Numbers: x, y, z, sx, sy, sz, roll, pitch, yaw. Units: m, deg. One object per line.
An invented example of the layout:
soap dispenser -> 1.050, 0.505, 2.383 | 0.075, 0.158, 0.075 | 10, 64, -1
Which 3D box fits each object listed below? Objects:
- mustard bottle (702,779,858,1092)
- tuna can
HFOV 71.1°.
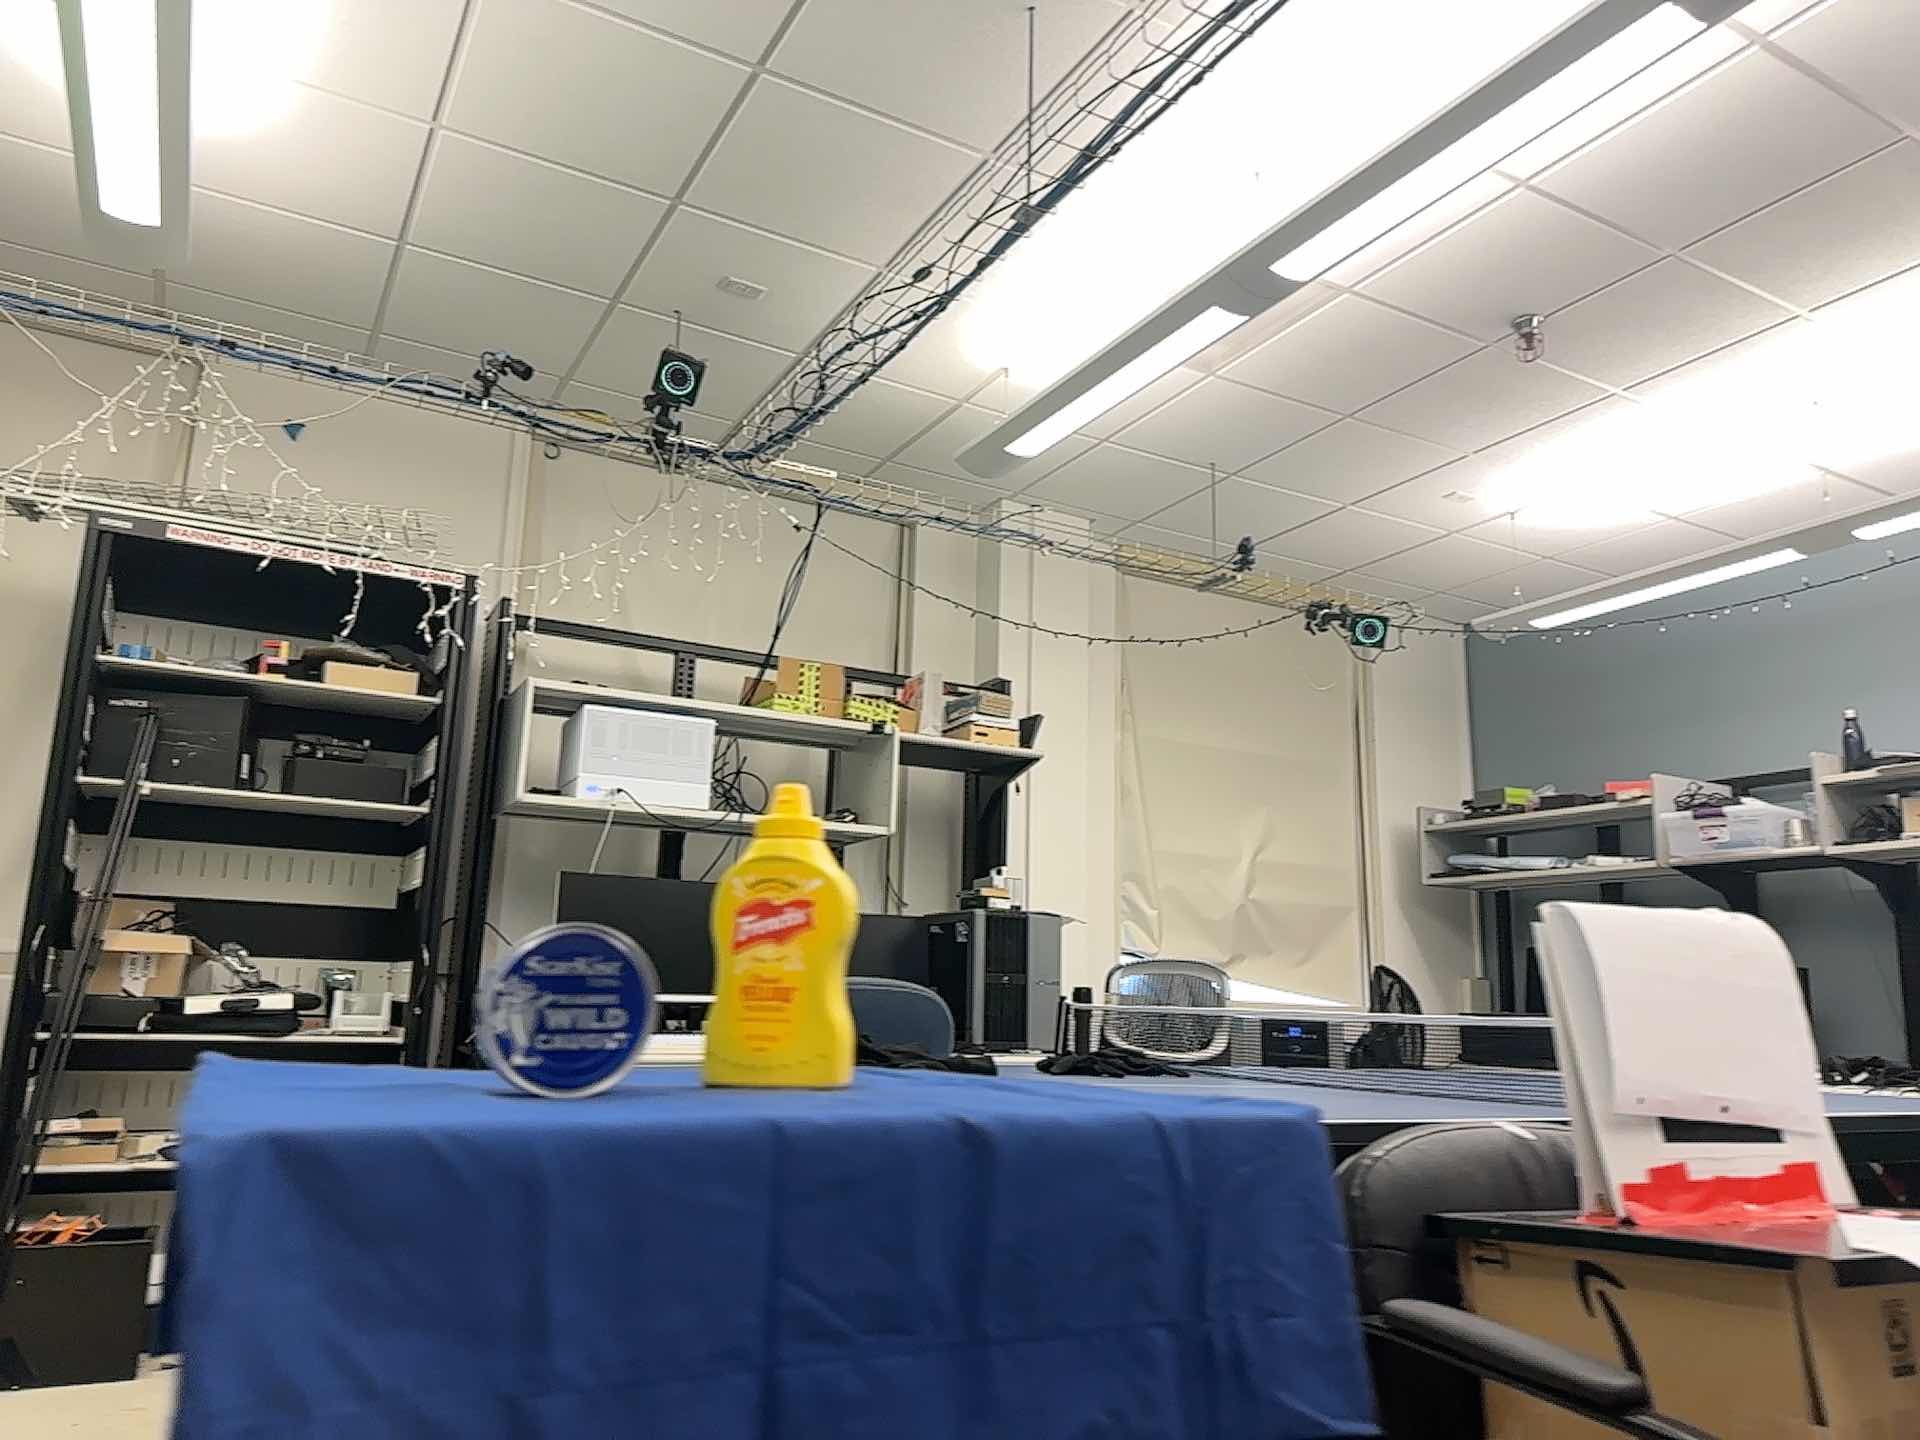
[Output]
mustard bottle -> -0.107, 0.126, 0.808 | 0.092, 0.184, 0.054 | -4, -12, 21
tuna can -> -0.200, 0.151, 0.698 | 0.083, 0.083, 0.034 | 7, -13, -25
